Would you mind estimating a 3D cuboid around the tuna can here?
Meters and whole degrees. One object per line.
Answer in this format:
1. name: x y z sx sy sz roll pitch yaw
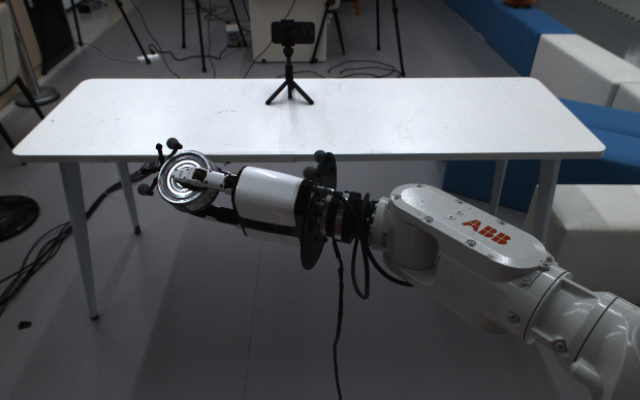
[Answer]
1. tuna can: -0.186 -0.028 0.692 0.085 0.034 0.085 -3 71 10
